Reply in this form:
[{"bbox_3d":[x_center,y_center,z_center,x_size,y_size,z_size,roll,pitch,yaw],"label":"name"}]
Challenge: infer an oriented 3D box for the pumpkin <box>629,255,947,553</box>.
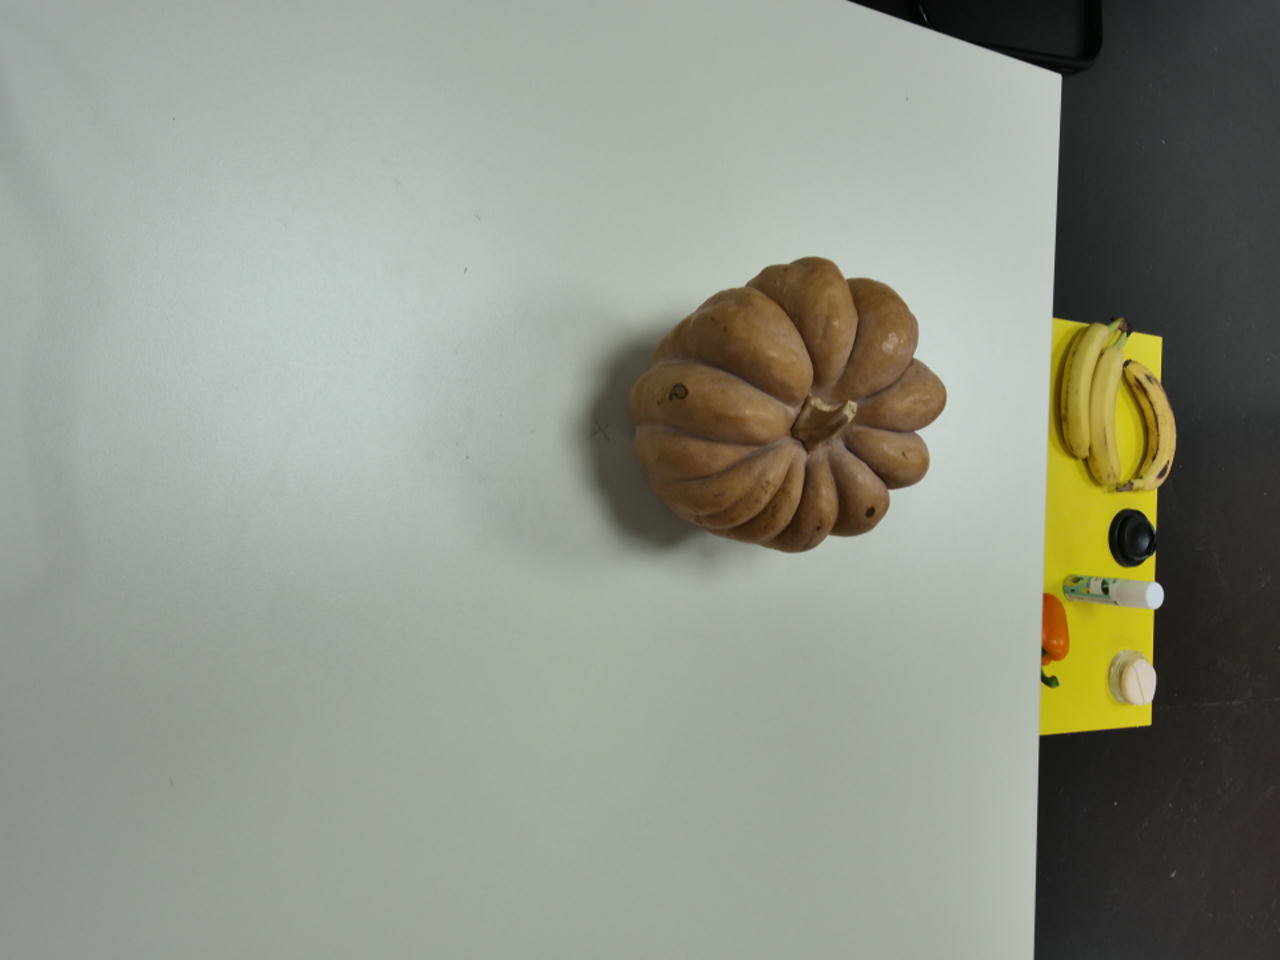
[{"bbox_3d":[0.090,-0.046,0.663,0.198,0.177,0.198,0,90,-28],"label":"pumpkin"}]
